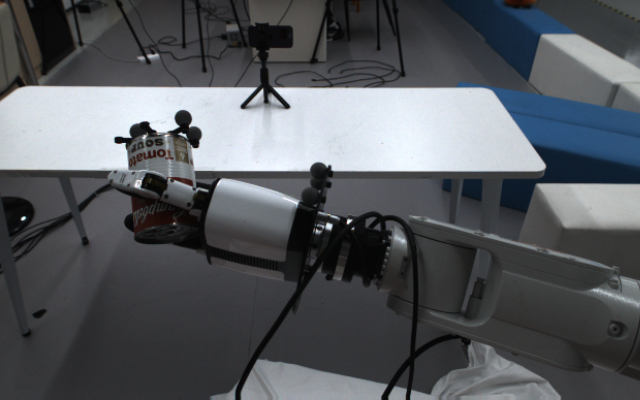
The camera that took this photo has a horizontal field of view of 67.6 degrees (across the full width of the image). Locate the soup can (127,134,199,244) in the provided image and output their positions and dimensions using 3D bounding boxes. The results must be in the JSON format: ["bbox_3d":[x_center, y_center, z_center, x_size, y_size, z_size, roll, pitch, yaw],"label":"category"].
[{"bbox_3d":[-0.162,-0.011,0.509,0.067,0.067,0.101,-8,73,-14],"label":"soup can"}]
